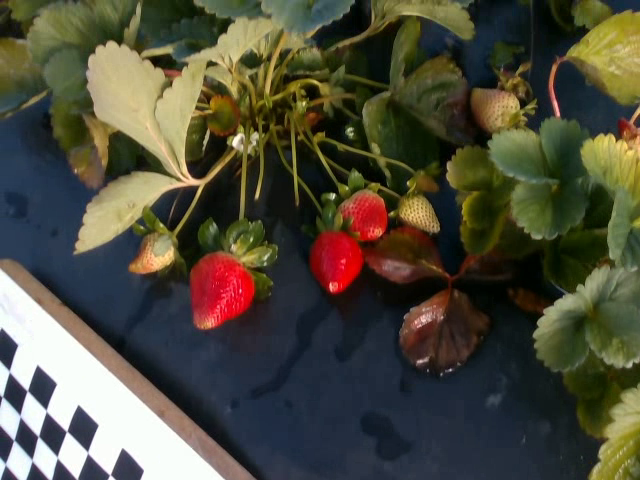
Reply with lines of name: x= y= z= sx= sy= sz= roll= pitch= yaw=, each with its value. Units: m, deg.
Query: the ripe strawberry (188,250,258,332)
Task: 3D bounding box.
ripe strawberry: x=-0.076 y=0.036 z=0.411 sx=0.050 sy=0.050 sz=0.065 roll=-11 pitch=33 yaw=32

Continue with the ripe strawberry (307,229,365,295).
ripe strawberry: x=0.008 y=0.019 z=0.407 sx=0.044 sy=0.041 sz=0.055 roll=-38 pitch=24 yaw=28
